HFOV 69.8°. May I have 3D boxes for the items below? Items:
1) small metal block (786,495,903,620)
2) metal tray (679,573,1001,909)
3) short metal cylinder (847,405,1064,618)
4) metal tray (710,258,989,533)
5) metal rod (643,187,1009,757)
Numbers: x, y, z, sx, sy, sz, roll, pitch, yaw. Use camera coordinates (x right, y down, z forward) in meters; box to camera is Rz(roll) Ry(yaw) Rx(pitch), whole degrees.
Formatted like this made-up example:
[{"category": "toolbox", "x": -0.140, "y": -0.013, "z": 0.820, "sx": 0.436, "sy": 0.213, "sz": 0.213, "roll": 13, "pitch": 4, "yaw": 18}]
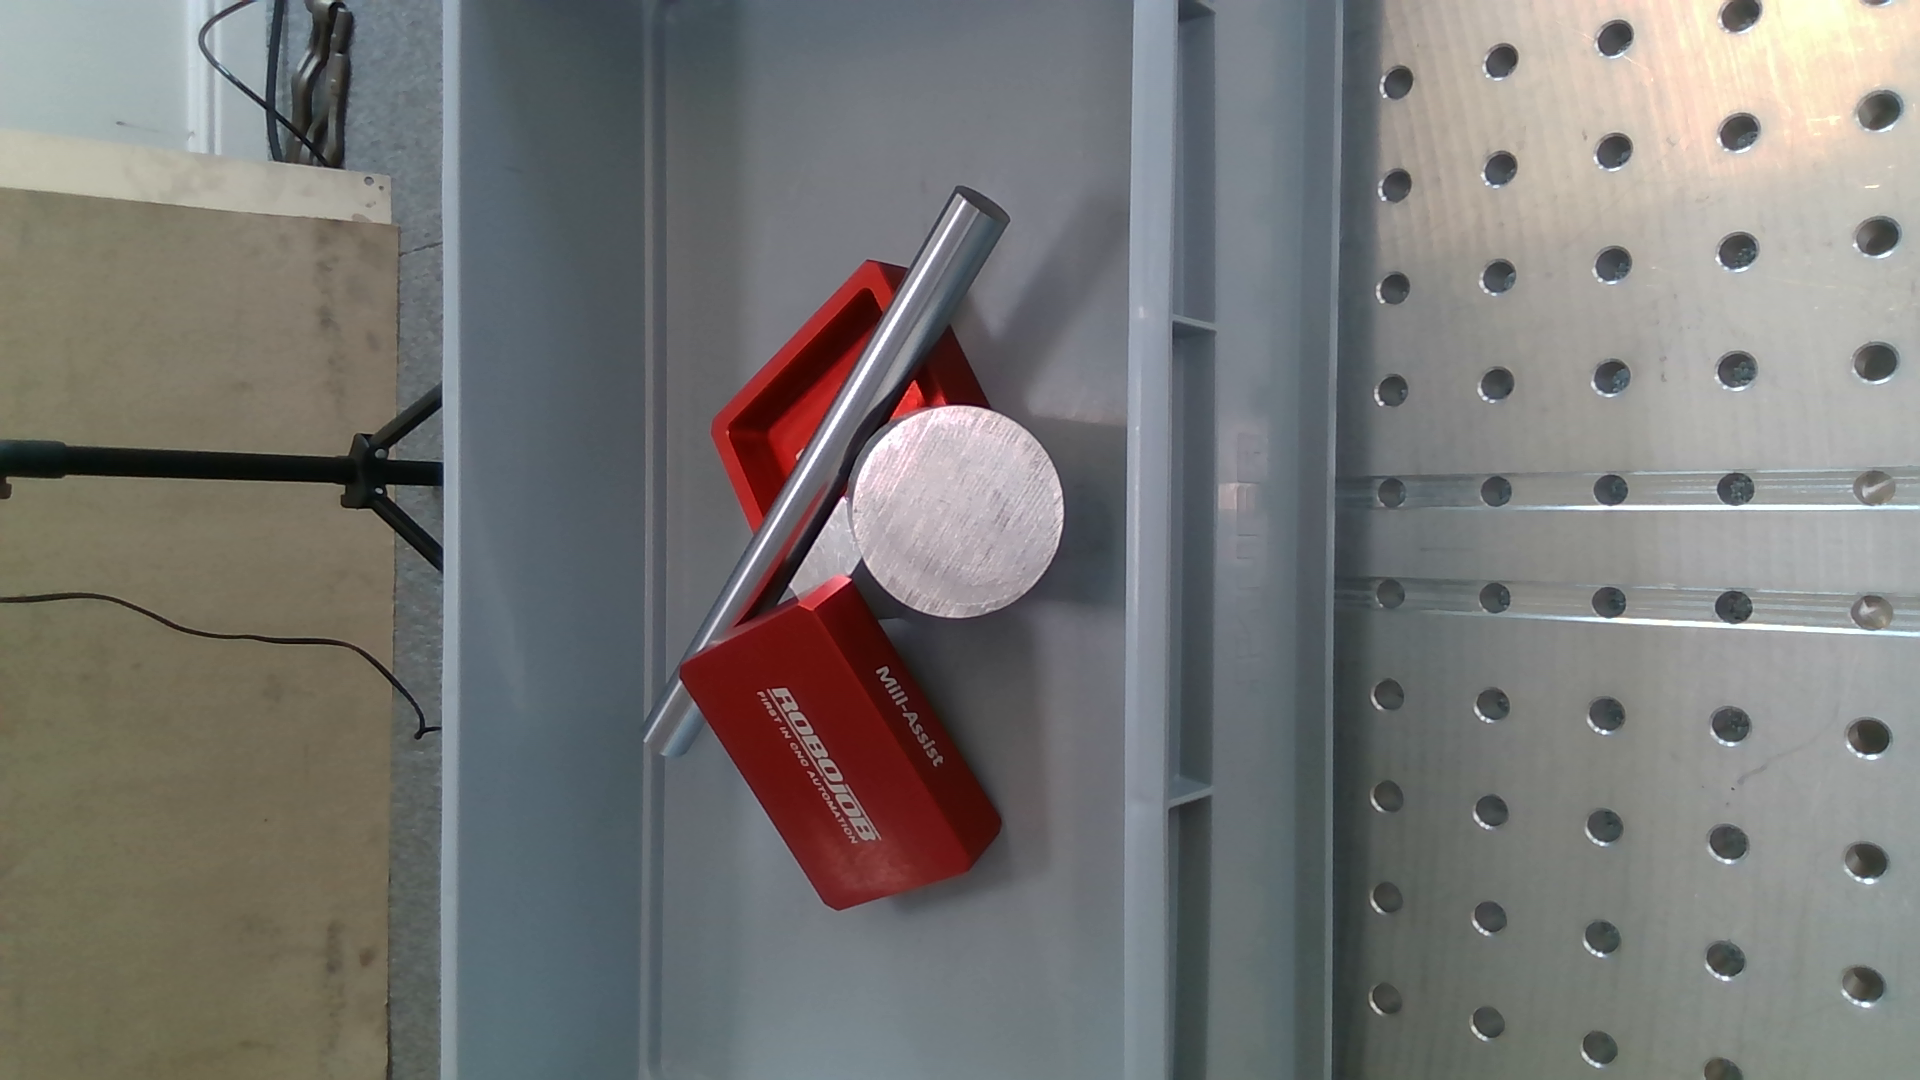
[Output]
[{"category": "small metal block", "x": -0.039, "y": 0.008, "z": 0.597, "sx": 0.025, "sy": 0.050, "sz": 0.050, "roll": 48, "pitch": 119, "yaw": 29}, {"category": "metal tray", "x": -0.053, "y": 0.089, "z": 0.590, "sx": 0.090, "sy": 0.030, "sz": 0.130, "roll": -27, "pitch": 98, "yaw": 37}, {"category": "short metal cylinder", "x": -0.004, "y": -0.013, "z": 0.540, "sx": 0.050, "sy": 0.080, "sz": 0.080, "roll": -140, "pitch": 55, "yaw": -80}, {"category": "metal tray", "x": -0.052, "y": -0.051, "z": 0.621, "sx": 0.130, "sy": 0.030, "sz": 0.090, "roll": -39, "pitch": 66, "yaw": 34}, {"category": "metal rod", "x": -0.067, "y": -0.018, "z": 0.598, "sx": 0.025, "sy": 0.025, "sz": 0.301, "roll": 49, "pitch": 120, "yaw": 29}]
